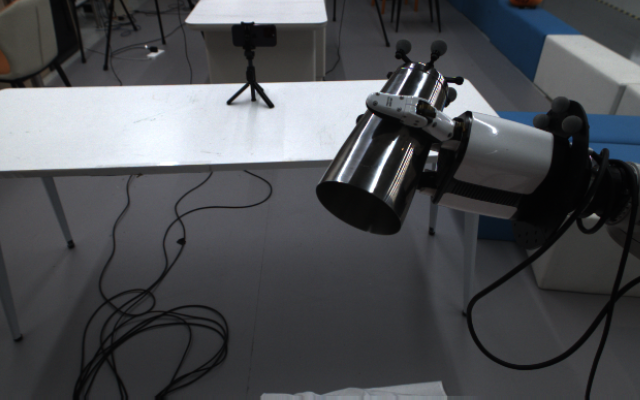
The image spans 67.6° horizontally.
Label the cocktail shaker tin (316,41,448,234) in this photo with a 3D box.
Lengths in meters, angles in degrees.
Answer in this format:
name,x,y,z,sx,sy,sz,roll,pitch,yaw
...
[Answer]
name,x,y,z,sx,sy,sz,roll,pitch,yaw
cocktail shaker tin,0.077,-0.062,0.503,0.093,0.093,0.170,18,66,21
